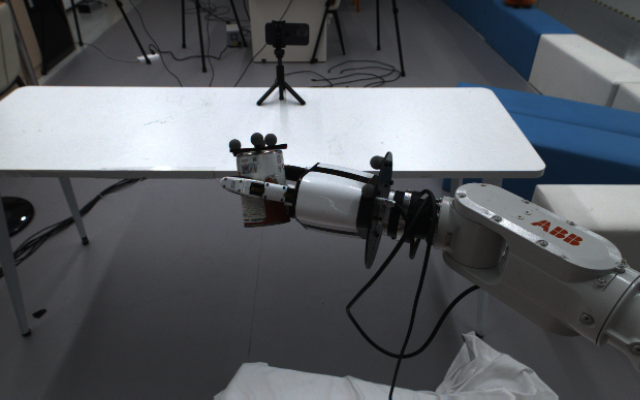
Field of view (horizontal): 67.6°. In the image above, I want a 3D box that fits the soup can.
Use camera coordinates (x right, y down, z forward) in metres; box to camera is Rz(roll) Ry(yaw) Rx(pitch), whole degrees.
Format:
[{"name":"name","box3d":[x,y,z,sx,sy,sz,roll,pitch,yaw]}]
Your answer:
[{"name":"soup can","box3d":[-0.079,-0.015,0.682,0.067,0.101,0.067,-7,3,0]}]
